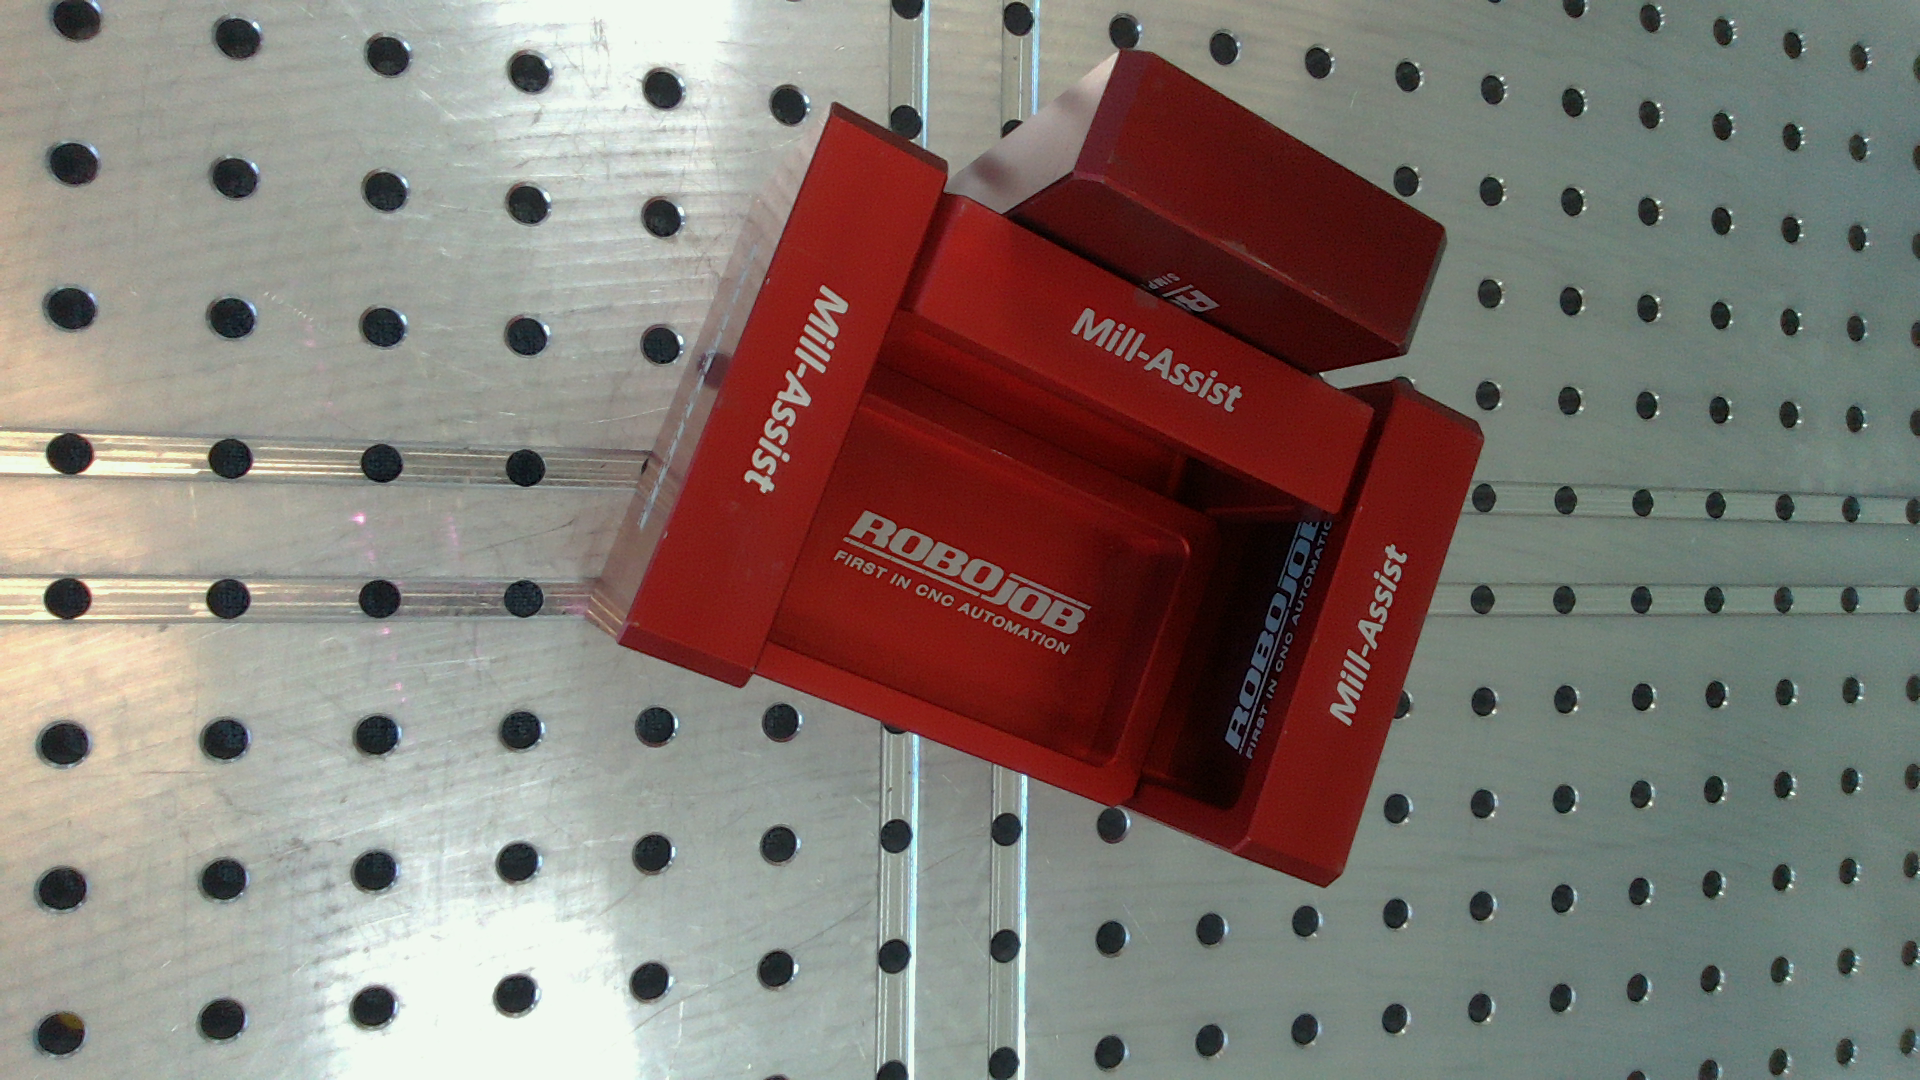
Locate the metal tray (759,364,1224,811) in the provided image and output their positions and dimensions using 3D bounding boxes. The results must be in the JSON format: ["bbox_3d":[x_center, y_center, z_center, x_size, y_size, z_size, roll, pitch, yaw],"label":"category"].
[{"bbox_3d":[0.002,0.013,0.393,0.130,0.030,0.090,23,82,-19],"label":"metal tray"}]

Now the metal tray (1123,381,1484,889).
[{"bbox_3d":[0.090,0.024,0.394,0.030,0.090,0.130,23,83,-18],"label":"metal tray"}]

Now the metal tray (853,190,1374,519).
[{"bbox_3d":[0.033,-0.044,0.373,0.130,0.090,0.030,23,83,-19],"label":"metal tray"}]

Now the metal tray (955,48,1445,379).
[{"bbox_3d":[0.048,-0.073,0.357,0.090,0.130,0.030,24,83,-19],"label":"metal tray"}]

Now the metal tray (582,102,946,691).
[{"bbox_3d":[-0.052,-0.033,0.342,0.030,0.090,0.130,23,82,-19],"label":"metal tray"}]
